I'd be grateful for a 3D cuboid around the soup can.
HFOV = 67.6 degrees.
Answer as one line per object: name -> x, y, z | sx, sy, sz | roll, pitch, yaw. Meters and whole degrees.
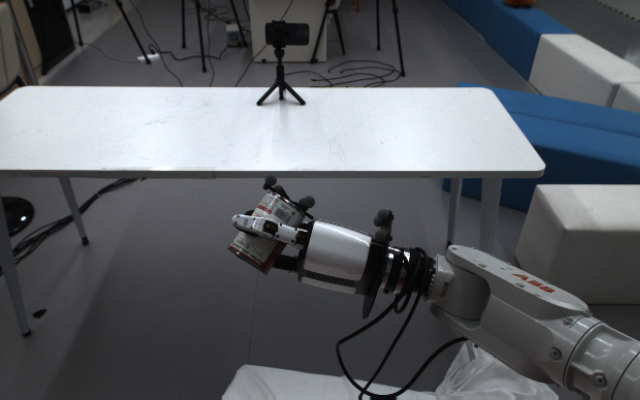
soup can -> -0.075, 0.048, 0.696 | 0.067, 0.067, 0.101 | 26, 76, 30
